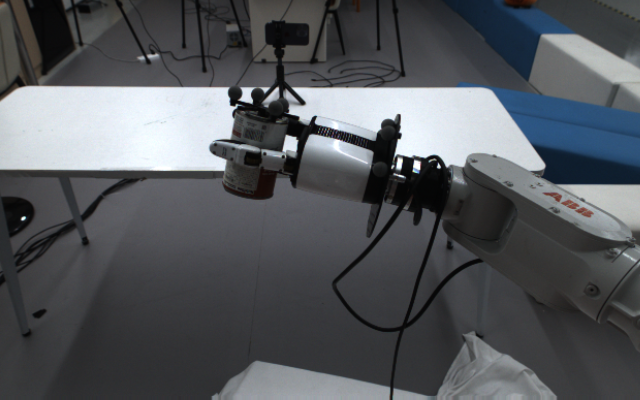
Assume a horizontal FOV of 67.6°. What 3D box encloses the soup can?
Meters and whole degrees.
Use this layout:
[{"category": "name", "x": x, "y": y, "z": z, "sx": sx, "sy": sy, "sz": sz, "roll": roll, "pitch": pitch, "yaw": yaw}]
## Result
[{"category": "soup can", "x": -0.081, "y": -0.059, "z": 0.610, "sx": 0.067, "sy": 0.101, "sz": 0.067, "roll": 13, "pitch": 18, "yaw": -4}]
